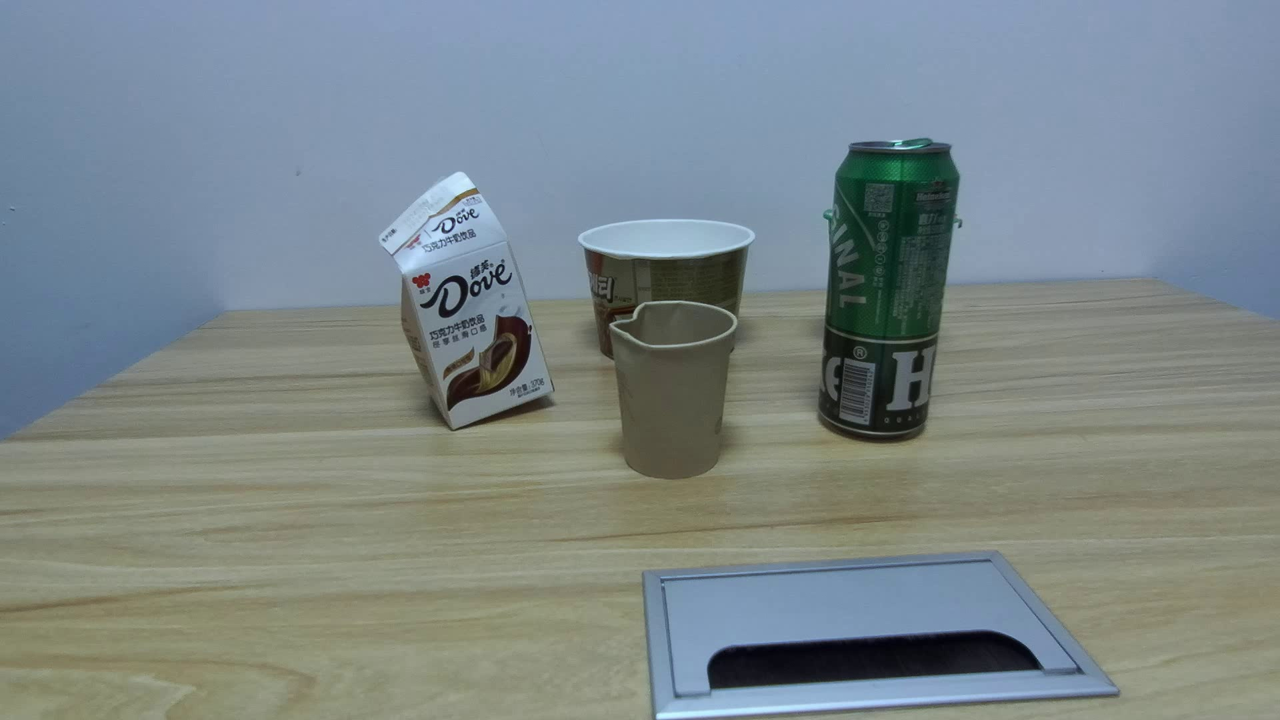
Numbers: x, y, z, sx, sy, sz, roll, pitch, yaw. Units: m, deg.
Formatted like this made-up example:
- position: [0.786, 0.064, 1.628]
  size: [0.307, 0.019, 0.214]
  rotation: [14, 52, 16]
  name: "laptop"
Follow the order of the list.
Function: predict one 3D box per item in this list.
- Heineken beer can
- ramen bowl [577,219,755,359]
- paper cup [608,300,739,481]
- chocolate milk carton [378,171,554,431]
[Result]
- position: [0.145, -0.038, 0.418]
  size: [0.067, 0.169, 0.067]
  rotation: [0, 19, 0]
  name: "Heineken beer can"
- position: [0.021, -0.055, 0.568]
  size: [0.140, 0.095, 0.140]
  rotation: [0, 21, 0]
  name: "ramen bowl"
- position: [0.019, 0.017, 0.394]
  size: [0.069, 0.081, 0.073]
  rotation: [-13, 24, -31]
  name: "paper cup"
- position: [-0.116, -0.038, 0.467]
  size: [0.089, 0.156, 0.076]
  rotation: [-27, 26, -22]
  name: "chocolate milk carton"
